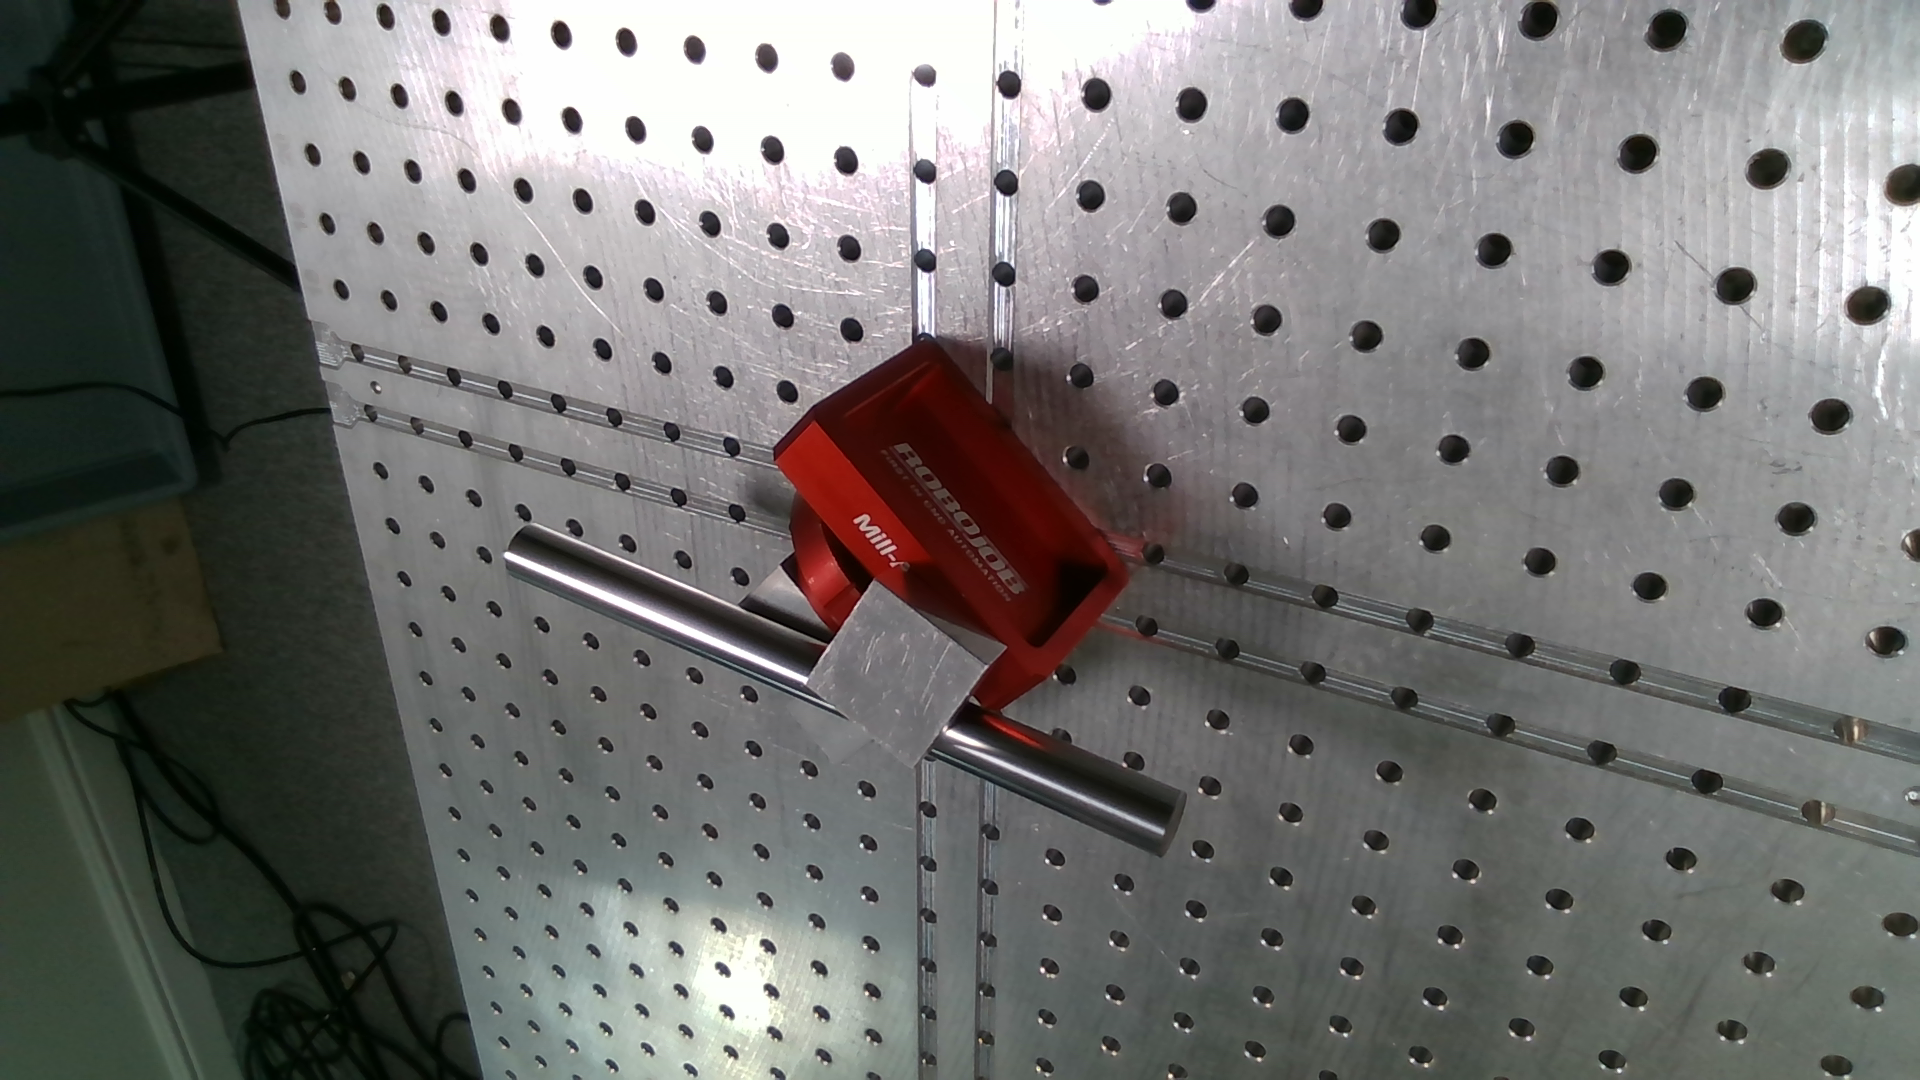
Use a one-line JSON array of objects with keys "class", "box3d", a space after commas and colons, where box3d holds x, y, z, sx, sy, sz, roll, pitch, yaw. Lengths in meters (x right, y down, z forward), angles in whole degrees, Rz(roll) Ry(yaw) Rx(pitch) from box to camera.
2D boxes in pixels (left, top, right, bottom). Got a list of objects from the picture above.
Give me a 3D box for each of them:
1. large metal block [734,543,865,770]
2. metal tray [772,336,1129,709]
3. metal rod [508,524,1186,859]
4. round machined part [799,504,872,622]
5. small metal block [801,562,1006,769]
[{"class": "large metal block", "box3d": [-0.046, 0.037, 0.592, 0.080, 0.080, 0.050, 50, 129, -1]}, {"class": "metal tray", "box3d": [-0.001, -0.009, 0.536, 0.130, 0.090, 0.030, 50, 129, -1]}, {"class": "metal rod", "box3d": [-0.056, 0.053, 0.543, 0.300, 0.025, 0.025, 20, 124, 21]}, {"class": "round machined part", "box3d": [-0.023, 0.005, 0.558, 0.098, 0.098, 0.042, 49, 129, -1]}, {"class": "small metal block", "box3d": [-0.020, 0.044, 0.493, 0.050, 0.025, 0.050, 37, 110, 7]}]
